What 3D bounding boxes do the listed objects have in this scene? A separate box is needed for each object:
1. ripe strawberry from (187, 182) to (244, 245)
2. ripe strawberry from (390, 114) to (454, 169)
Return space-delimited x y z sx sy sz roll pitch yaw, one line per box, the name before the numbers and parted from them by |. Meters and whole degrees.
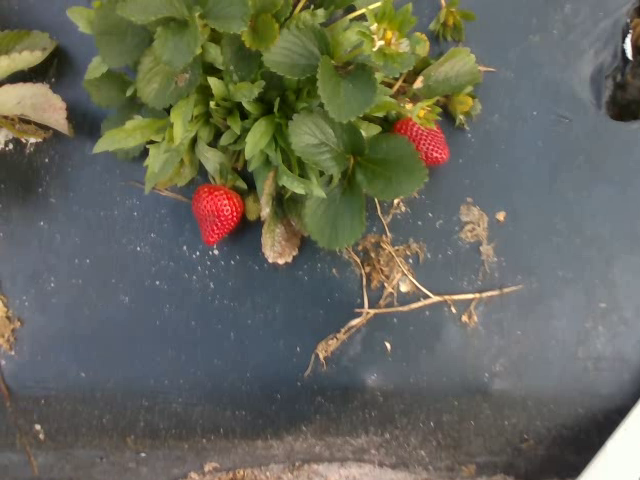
ripe strawberry | -0.079 -0.019 0.465 0.043 0.051 0.043 9 -7 2
ripe strawberry | 0.075 -0.069 0.453 0.046 0.043 0.046 33 21 25
